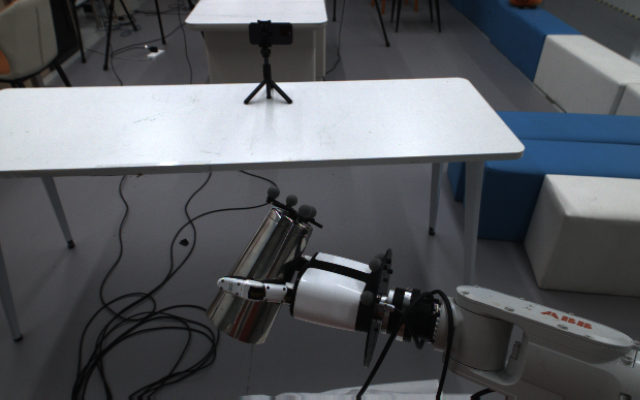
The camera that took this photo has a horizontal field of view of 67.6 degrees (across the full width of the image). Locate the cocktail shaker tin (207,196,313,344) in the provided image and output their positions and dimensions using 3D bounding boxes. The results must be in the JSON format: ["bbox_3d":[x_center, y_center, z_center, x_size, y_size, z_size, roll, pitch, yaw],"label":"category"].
[{"bbox_3d":[-0.076,0.097,0.669,0.093,0.170,0.093,27,2,-1],"label":"cocktail shaker tin"}]
